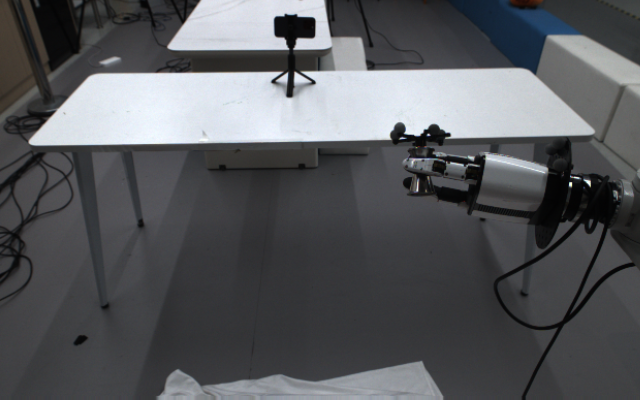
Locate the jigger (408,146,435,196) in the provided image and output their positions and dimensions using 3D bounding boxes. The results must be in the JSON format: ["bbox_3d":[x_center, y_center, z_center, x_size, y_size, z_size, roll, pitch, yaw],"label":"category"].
[{"bbox_3d":[0.149,-0.043,0.718,0.043,0.071,0.043,1,-5,0],"label":"jigger"}]
